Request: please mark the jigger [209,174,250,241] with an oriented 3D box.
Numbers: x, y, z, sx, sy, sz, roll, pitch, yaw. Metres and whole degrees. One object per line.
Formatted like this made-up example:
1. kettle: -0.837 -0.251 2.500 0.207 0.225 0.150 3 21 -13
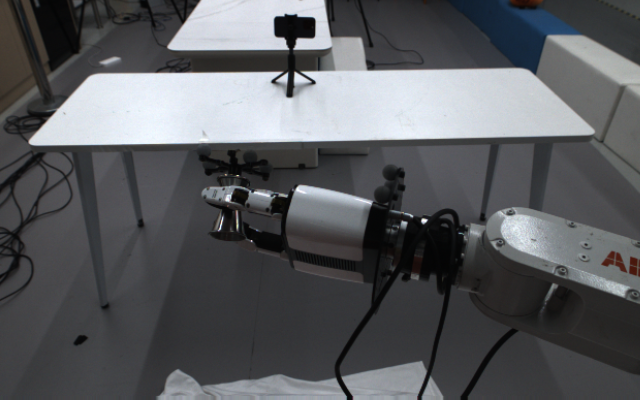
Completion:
1. jigger: -0.103 0.009 0.557 0.043 0.043 0.071 3 72 1
